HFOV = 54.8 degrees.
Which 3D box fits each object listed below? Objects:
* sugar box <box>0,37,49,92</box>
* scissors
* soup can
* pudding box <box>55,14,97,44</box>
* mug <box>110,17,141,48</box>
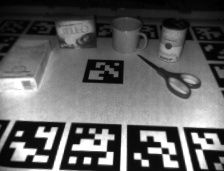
[{"bbox_3d":[-0.230,-0.062,0.567,0.093,0.045,0.175,-1,47,1],"label":"sugar box"},{"bbox_3d":[0.131,-0.037,0.562,0.088,0.016,0.200,-36,57,-19],"label":"scissors"},{"bbox_3d":[0.159,-0.128,0.604,0.068,0.102,0.067,0,45,1],"label":"soup can"},{"bbox_3d":[-0.103,-0.169,0.632,0.114,0.090,0.038,-5,52,-6],"label":"pudding box"},{"bbox_3d":[0.046,-0.159,0.635,0.094,0.082,0.115,-27,50,-21],"label":"mug"}]
